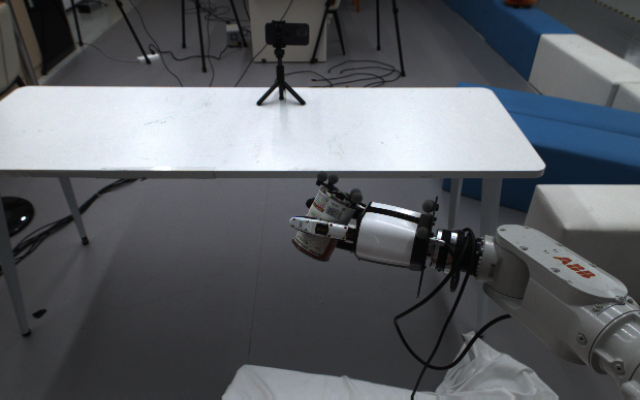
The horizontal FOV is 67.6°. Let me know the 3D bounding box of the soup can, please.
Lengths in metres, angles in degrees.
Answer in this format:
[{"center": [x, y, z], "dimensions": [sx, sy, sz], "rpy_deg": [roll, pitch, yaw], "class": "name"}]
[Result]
[{"center": [0.009, 0.039, 0.773], "dimensions": [0.067, 0.101, 0.067], "rpy_deg": [28, 10, -5], "class": "soup can"}]
